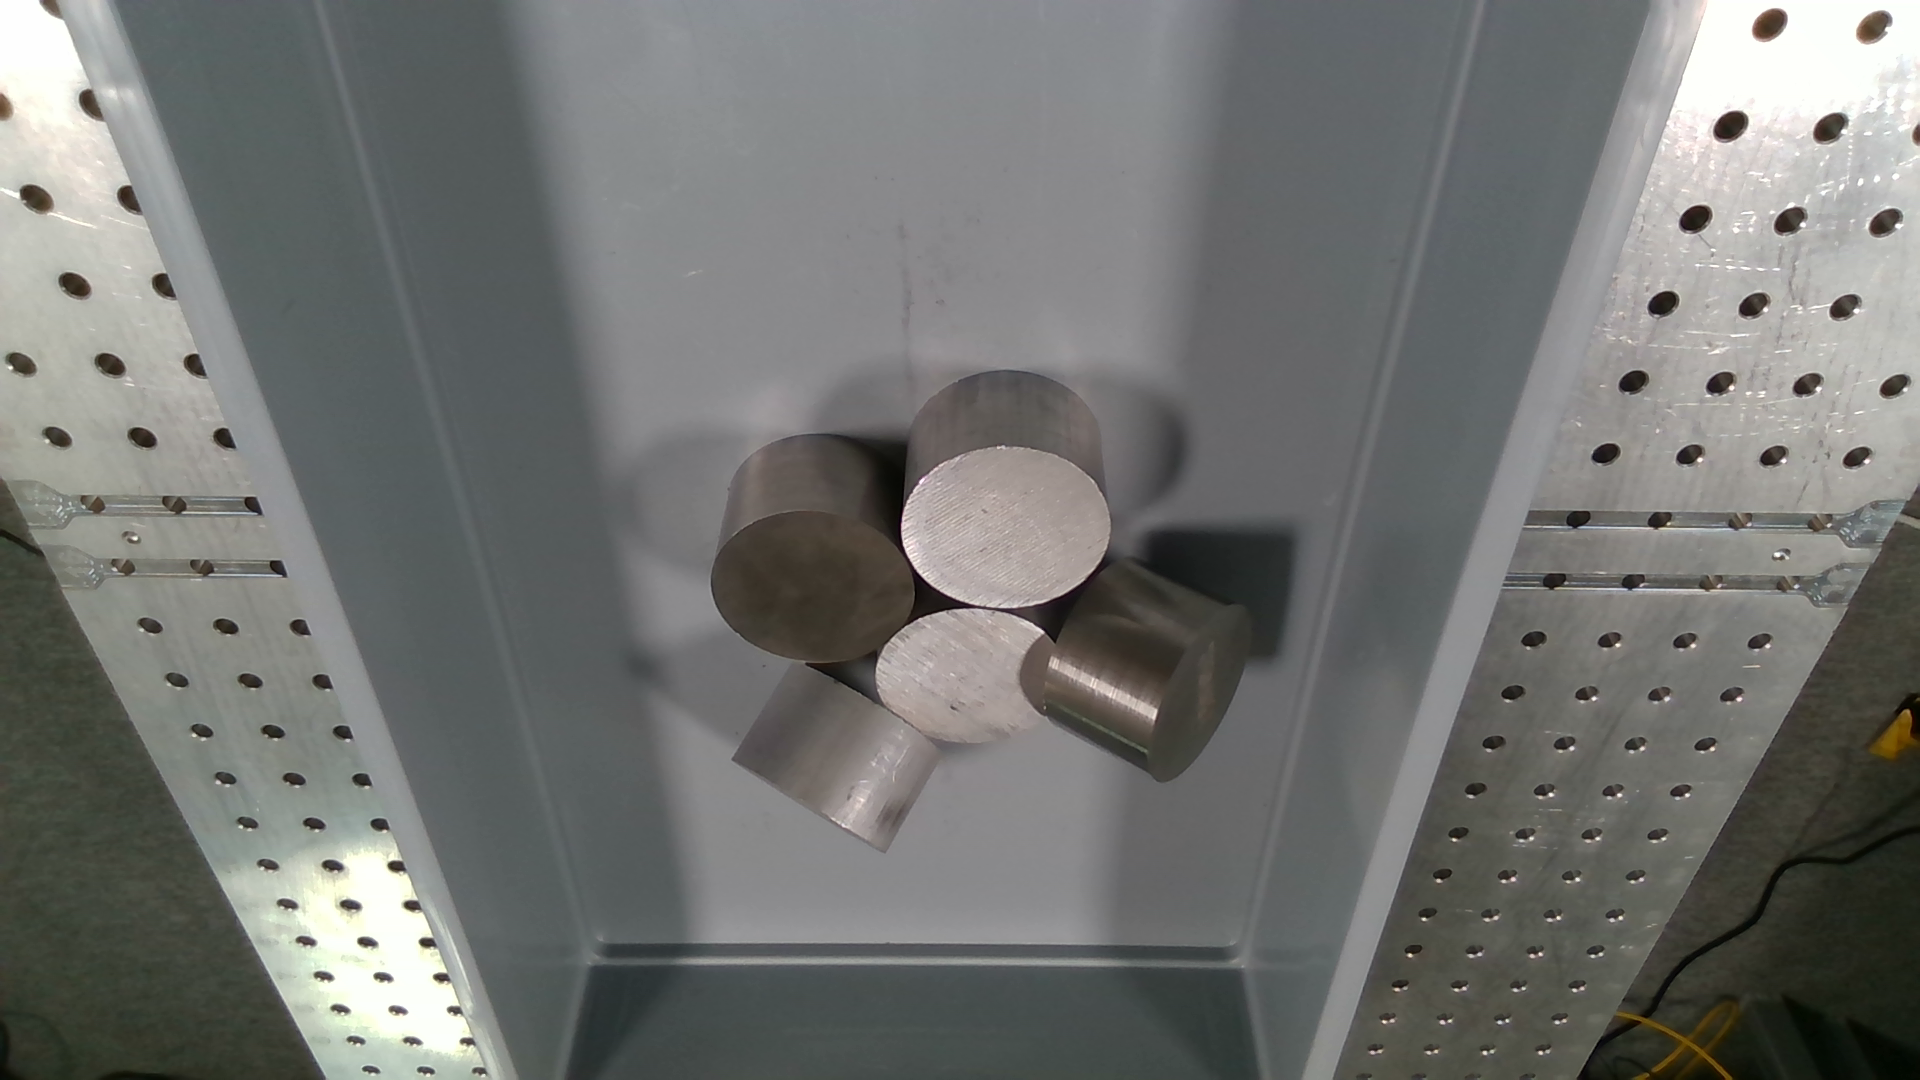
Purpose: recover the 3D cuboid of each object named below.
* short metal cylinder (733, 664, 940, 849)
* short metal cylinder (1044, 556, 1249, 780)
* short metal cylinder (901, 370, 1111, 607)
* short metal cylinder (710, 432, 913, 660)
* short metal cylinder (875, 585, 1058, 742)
[{"bbox_3d":[-0.055,0.096,0.616,0.080,0.050,0.080,29,166,8],"label":"short metal cylinder"},{"bbox_3d":[0.079,0.053,0.577,0.050,0.080,0.080,25,138,30],"label":"short metal cylinder"},{"bbox_3d":[0.017,-0.020,0.544,0.080,0.050,0.080,0,130,0],"label":"short metal cylinder"},{"bbox_3d":[-0.059,0.003,0.563,0.080,0.050,0.080,0,130,0],"label":"short metal cylinder"},{"bbox_3d":[0.004,0.042,0.596,0.080,0.050,0.080,0,130,0],"label":"short metal cylinder"}]
